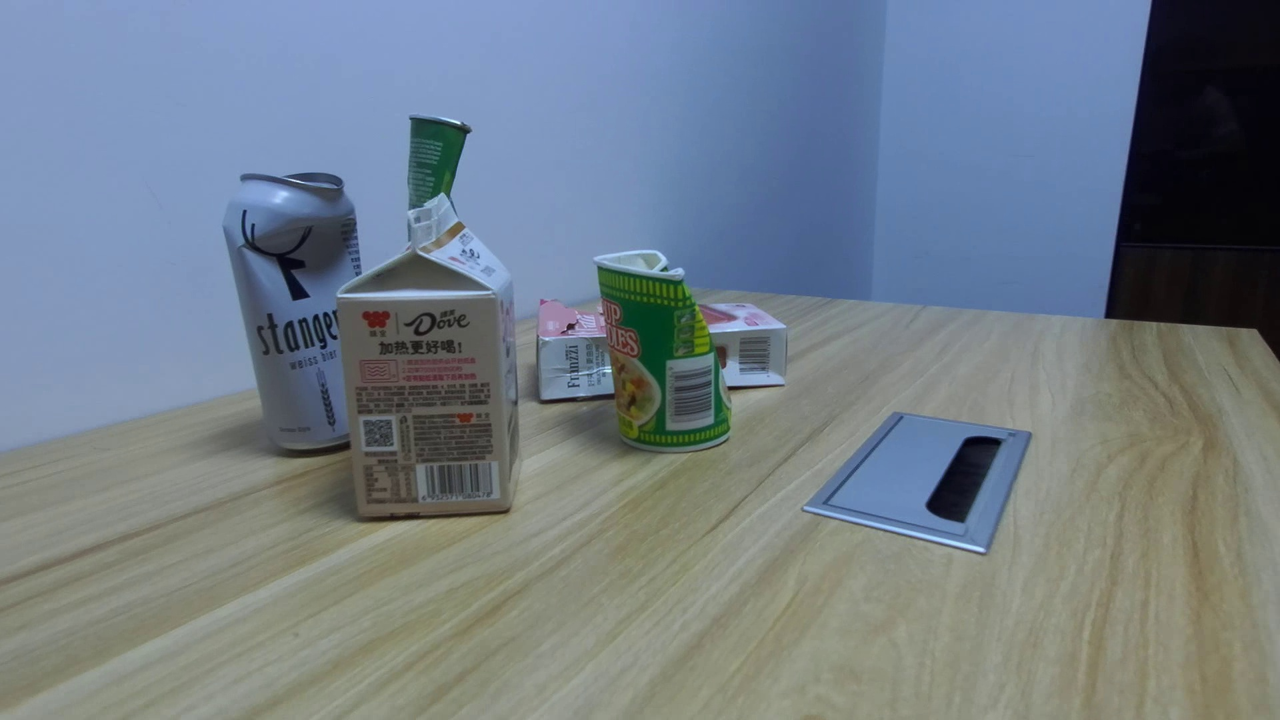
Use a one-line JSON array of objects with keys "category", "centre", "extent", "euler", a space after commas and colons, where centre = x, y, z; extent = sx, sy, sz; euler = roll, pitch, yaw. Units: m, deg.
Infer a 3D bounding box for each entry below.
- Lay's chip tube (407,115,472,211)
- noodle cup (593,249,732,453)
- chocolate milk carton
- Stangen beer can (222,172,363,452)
[{"category": "Lay's chip tube", "centre": [-0.144, -0.073, 0.516], "extent": [0.077, 0.201, 0.069], "euler": [12, 19, 35]}, {"category": "noodle cup", "centre": [0.017, -0.008, 0.420], "extent": [0.075, 0.122, 0.083], "euler": [-1, 24, 29]}, {"category": "chocolate milk carton", "centre": [-0.100, -0.006, 0.351], "extent": [0.074, 0.148, 0.075], "euler": [-1, 14, -6]}, {"category": "Stangen beer can", "centre": [-0.195, -0.027, 0.419], "extent": [0.066, 0.162, 0.077], "euler": [-8, 15, -20]}]
